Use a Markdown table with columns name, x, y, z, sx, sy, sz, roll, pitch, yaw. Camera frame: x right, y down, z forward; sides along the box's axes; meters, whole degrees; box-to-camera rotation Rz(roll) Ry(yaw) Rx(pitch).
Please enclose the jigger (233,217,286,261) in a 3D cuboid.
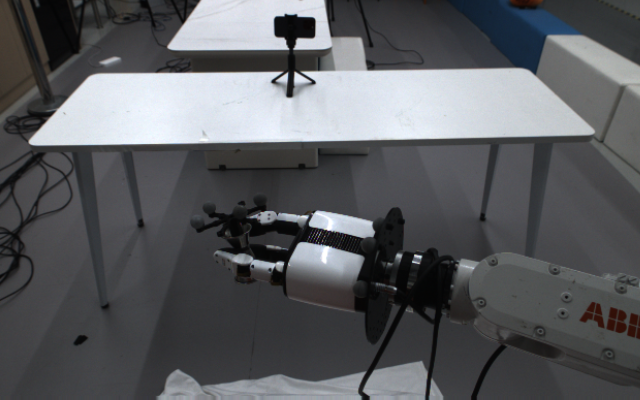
| name | x | y | z | sx | sy | sz | roll | pitch | yaw |
| --- | --- | --- | --- | --- | --- | --- | --- | --- | --- |
| jigger | -0.097 | 0.068 | 0.620 | 0.043 | 0.071 | 0.043 | -12 | 24 | 5 |
